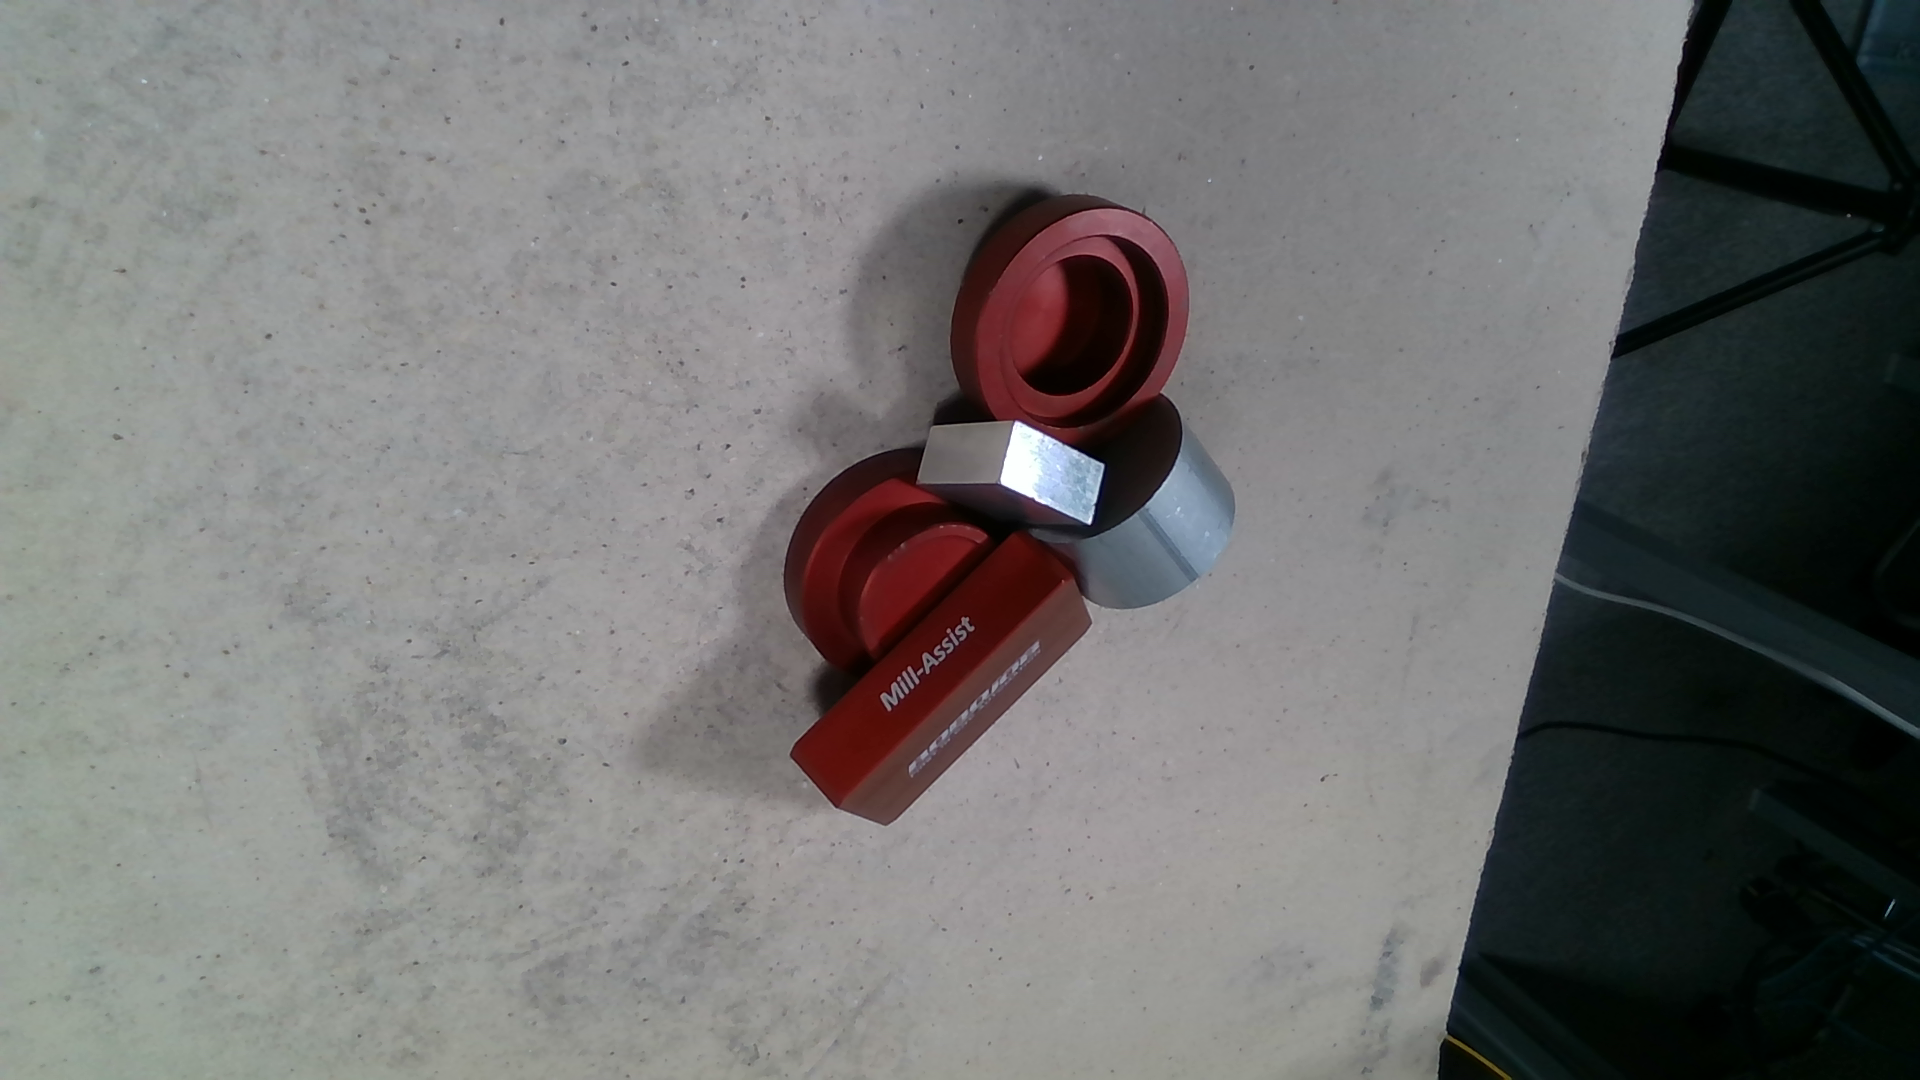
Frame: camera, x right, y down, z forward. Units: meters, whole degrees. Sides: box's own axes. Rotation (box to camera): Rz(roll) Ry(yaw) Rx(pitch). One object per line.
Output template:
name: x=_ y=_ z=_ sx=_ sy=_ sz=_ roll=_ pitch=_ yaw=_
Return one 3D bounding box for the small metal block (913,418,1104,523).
small metal block: x=0.019 y=-0.026 z=0.539 sx=0.050 sy=0.050 sz=0.025 roll=22 pitch=77 yaw=-38

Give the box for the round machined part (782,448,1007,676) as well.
round machined part: x=-0.020 y=0.015 z=0.566 sx=0.098 sy=0.042 sz=0.098 roll=-14 pitch=122 yaw=-25

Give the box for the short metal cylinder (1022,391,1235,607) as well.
short metal cylinder: x=0.068 y=-0.019 z=0.578 sx=0.080 sy=0.080 sz=0.050 roll=-46 pitch=129 yaw=-2

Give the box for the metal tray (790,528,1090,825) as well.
metal tray: x=-0.004 y=0.061 z=0.580 sx=0.130 sy=0.030 sz=0.090 roll=-44 pitch=161 yaw=-4

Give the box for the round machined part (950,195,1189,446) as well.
round machined part: x=0.039 y=-0.088 z=0.546 sx=0.098 sy=0.042 sz=0.098 roll=-14 pitch=122 yaw=-25
